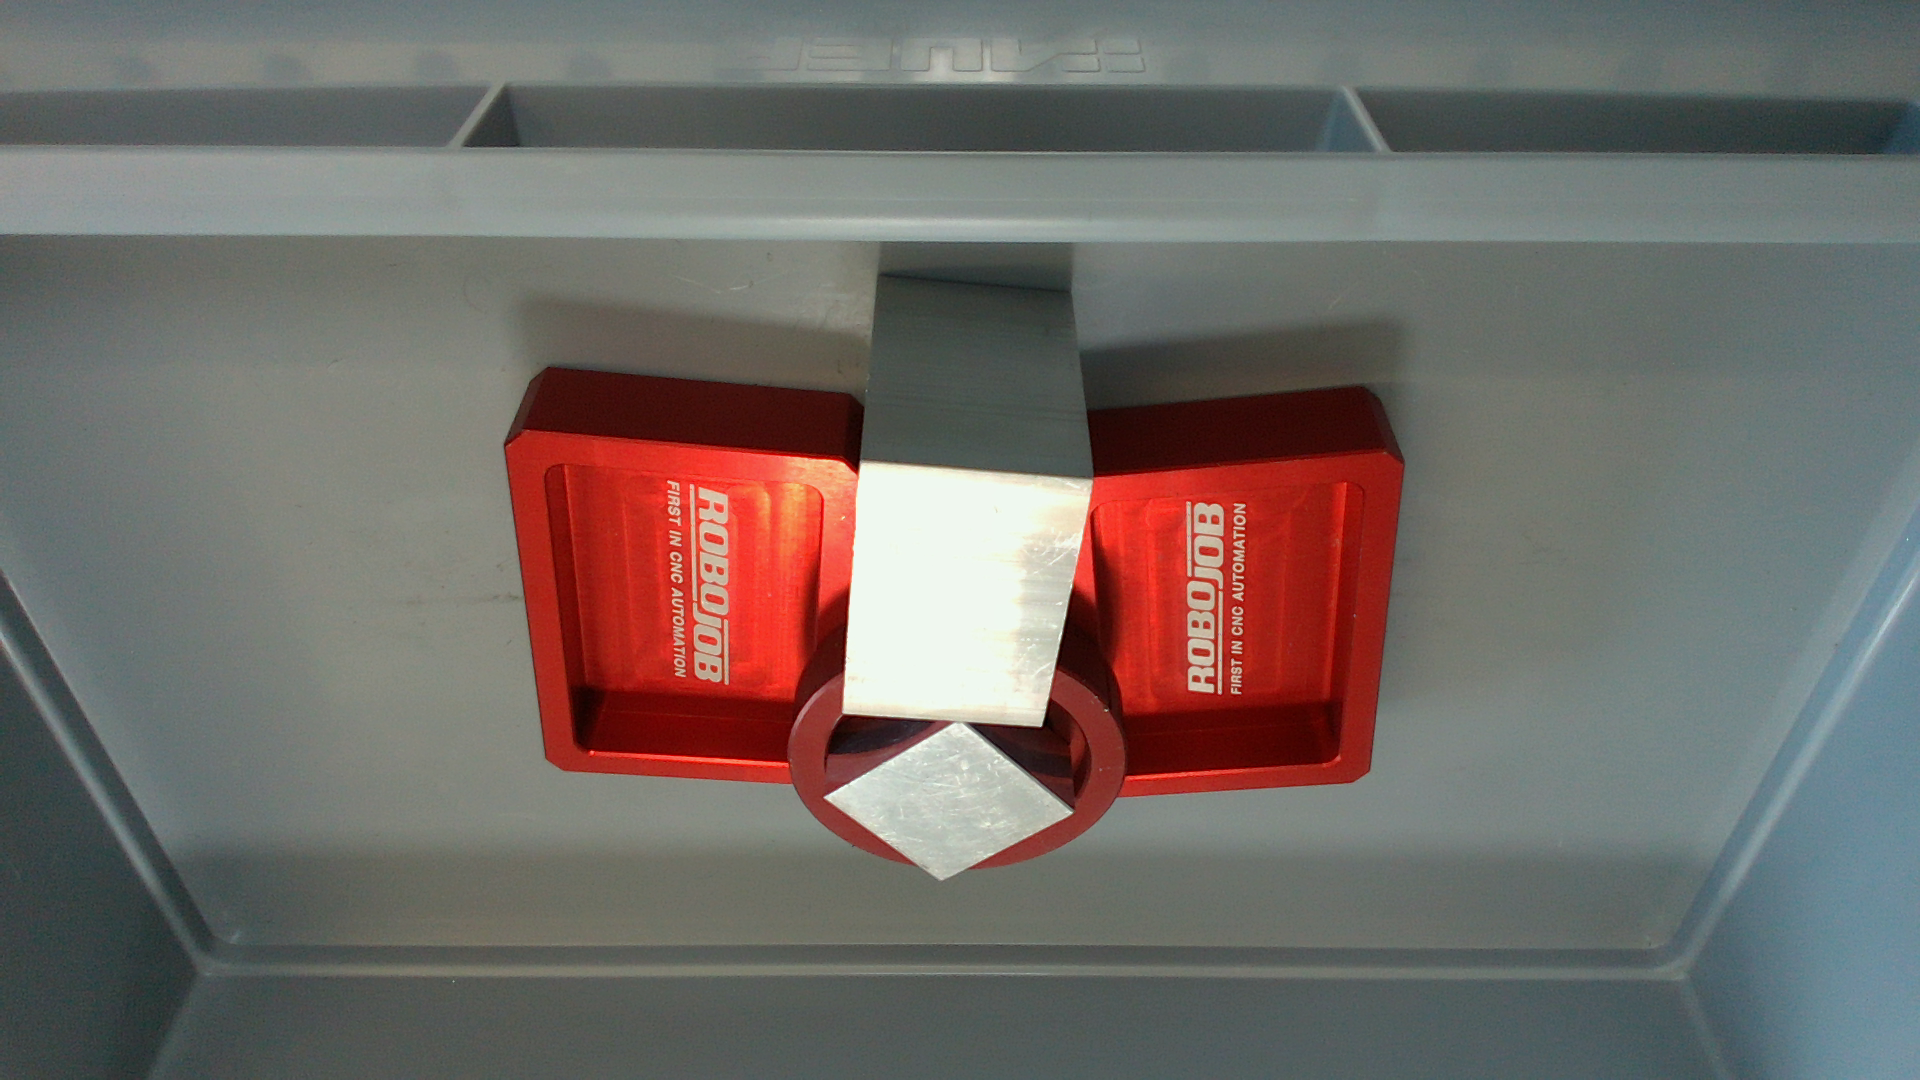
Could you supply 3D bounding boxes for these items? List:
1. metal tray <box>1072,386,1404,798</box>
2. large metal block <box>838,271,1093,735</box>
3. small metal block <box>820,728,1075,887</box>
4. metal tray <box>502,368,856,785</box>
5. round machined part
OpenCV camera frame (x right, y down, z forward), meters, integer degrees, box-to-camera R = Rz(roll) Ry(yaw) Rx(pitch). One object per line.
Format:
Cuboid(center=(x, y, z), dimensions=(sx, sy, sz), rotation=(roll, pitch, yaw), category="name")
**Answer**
Cuboid(center=(0.076, 0.021, 0.403), dimensions=(0.090, 0.030, 0.130), rotation=(-5, 130, 4), category="metal tray")
Cuboid(center=(-0.001, -0.010, 0.344), dimensions=(0.050, 0.080, 0.080), rotation=(5, 130, -4), category="large metal block")
Cuboid(center=(-0.003, 0.067, 0.390), dimensions=(0.050, 0.025, 0.050), rotation=(-32, 123, 24), category="small metal block")
Cuboid(center=(-0.077, 0.016, 0.398), dimensions=(0.090, 0.030, 0.130), rotation=(4, 130, -4), category="metal tray")
Cuboid(center=(0.000, 0.052, 0.409), dimensions=(0.098, 0.042, 0.098), rotation=(0, 130, 0), category="round machined part")
